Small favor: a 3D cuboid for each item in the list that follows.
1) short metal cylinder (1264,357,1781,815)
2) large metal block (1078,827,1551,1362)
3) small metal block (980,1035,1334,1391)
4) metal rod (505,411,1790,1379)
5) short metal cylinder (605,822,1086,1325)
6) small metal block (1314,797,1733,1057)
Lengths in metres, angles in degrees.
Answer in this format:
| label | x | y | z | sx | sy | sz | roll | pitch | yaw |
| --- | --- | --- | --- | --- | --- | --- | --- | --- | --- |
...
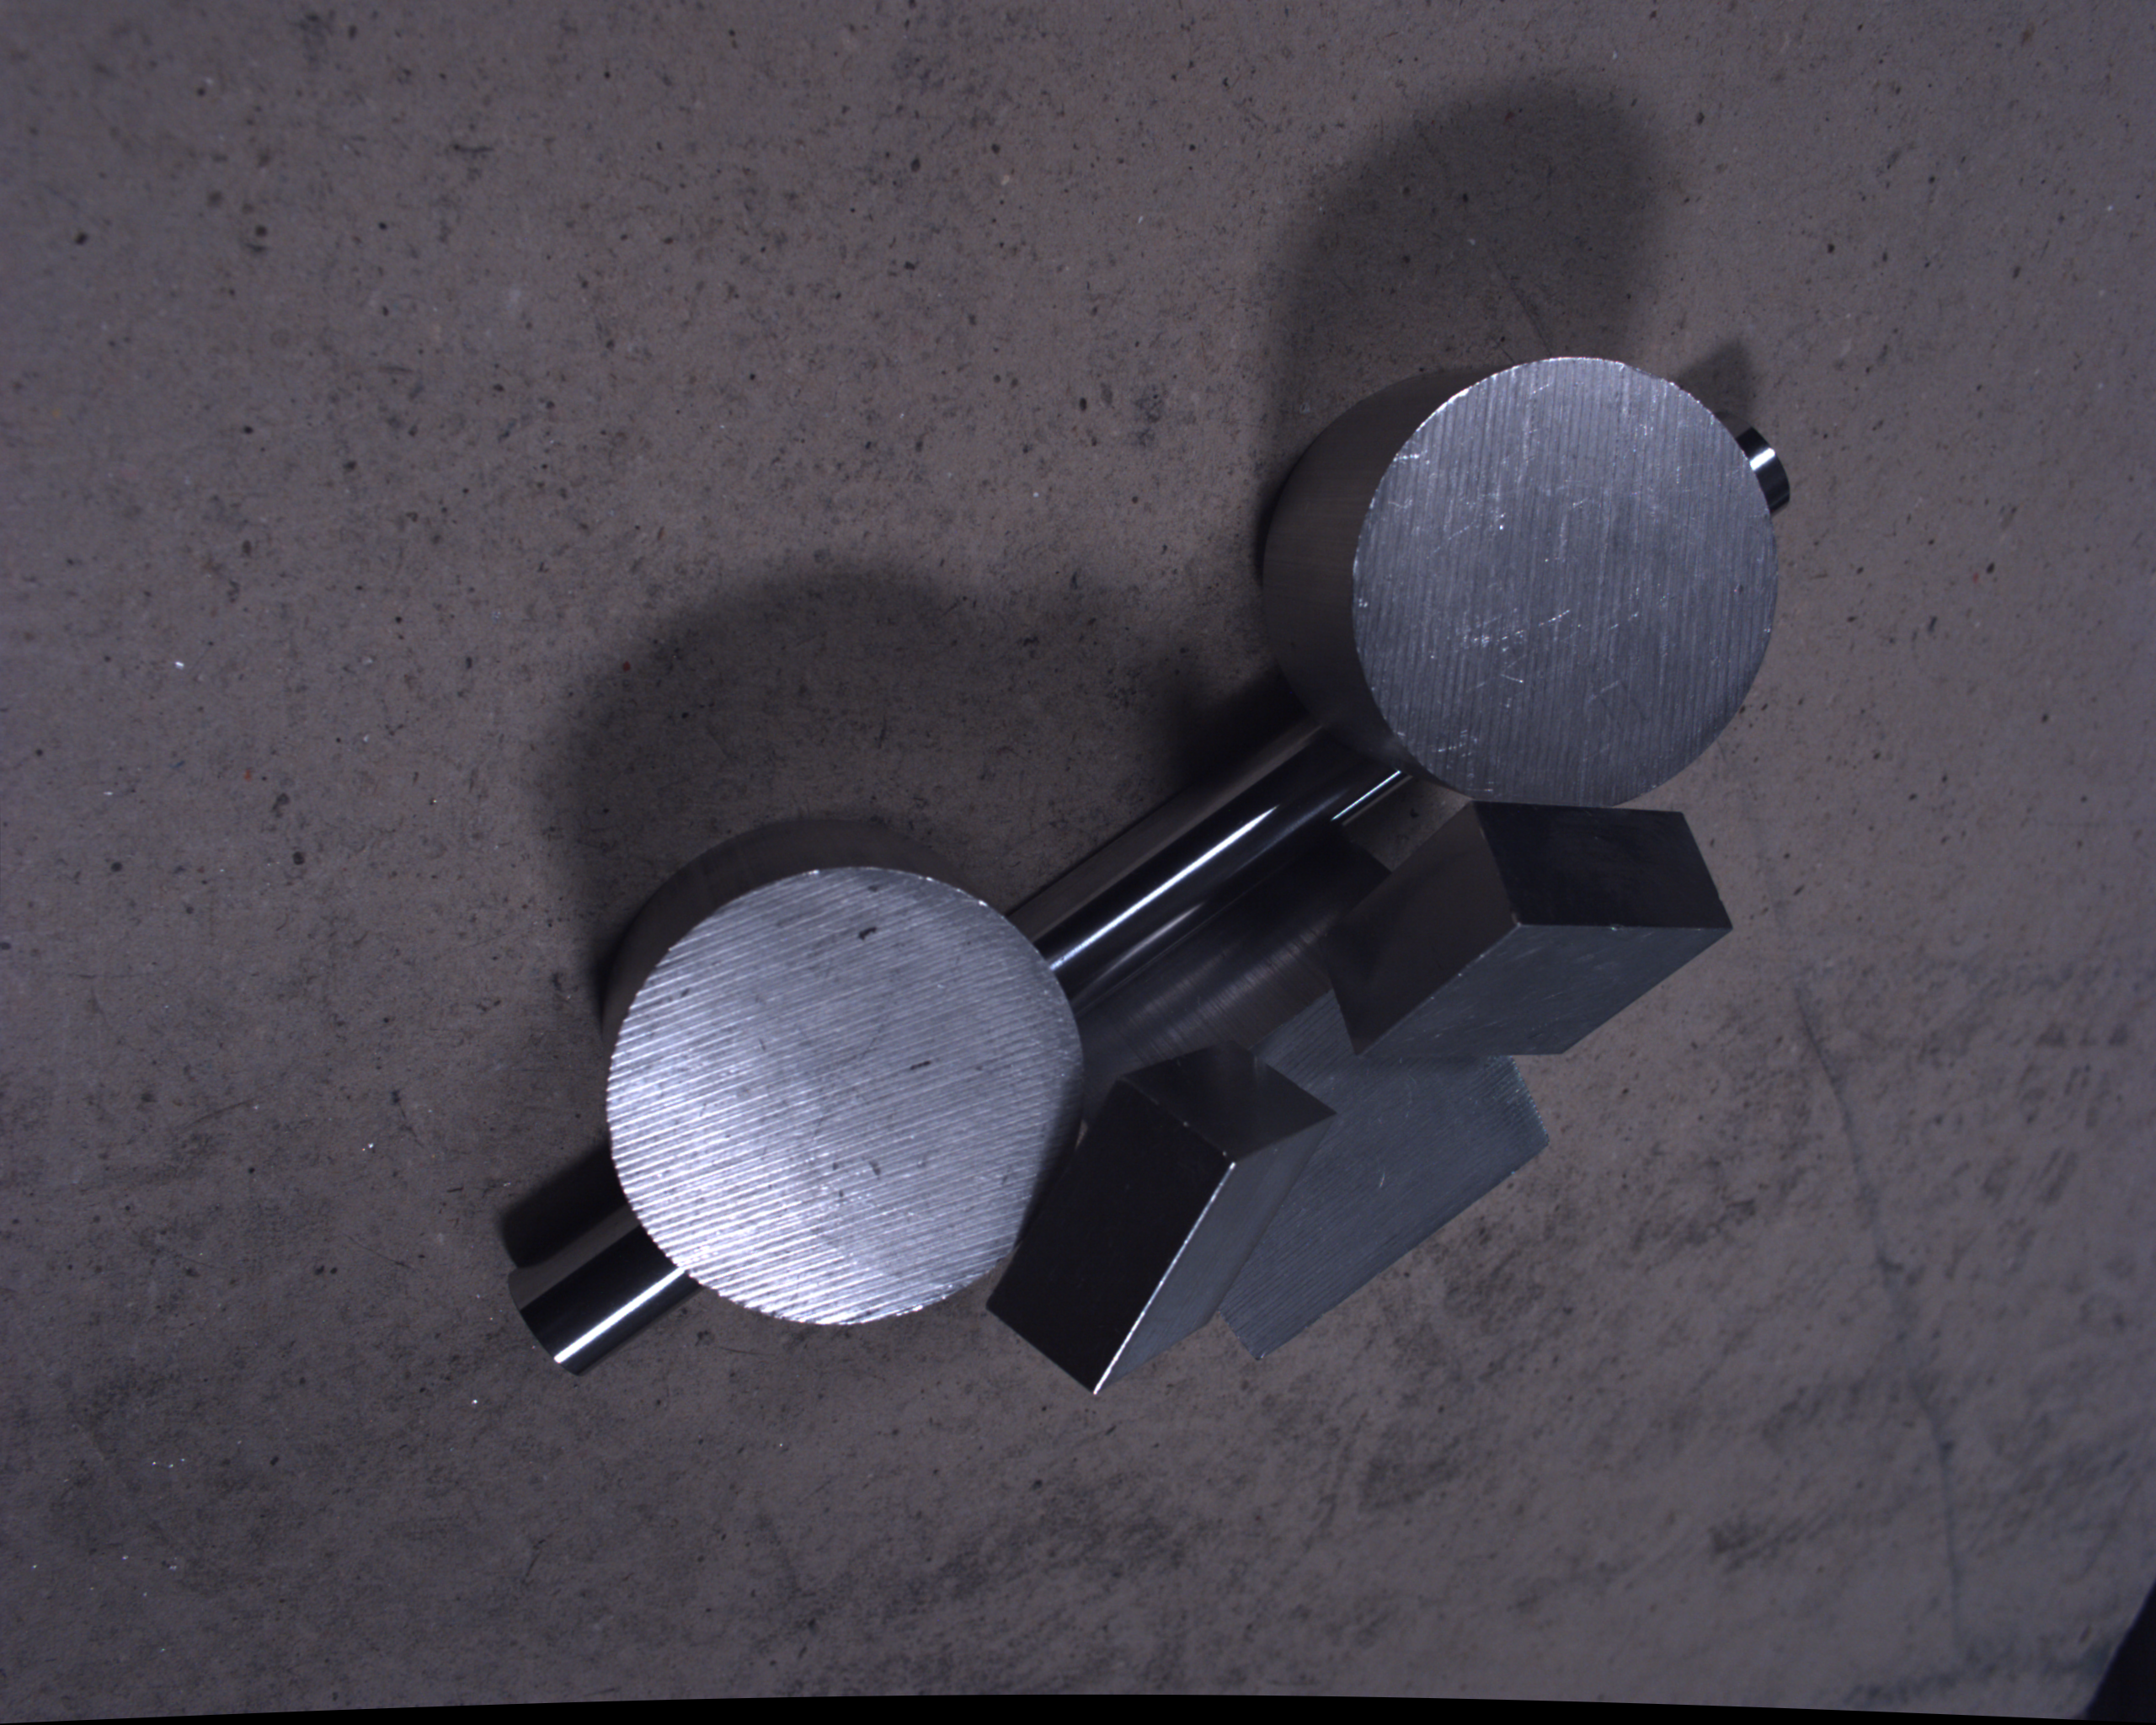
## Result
| label | x | y | z | sx | sy | sz | roll | pitch | yaw |
| --- | --- | --- | --- | --- | --- | --- | --- | --- | --- |
| short metal cylinder | 0.081 | -0.051 | 0.387 | 0.081 | 0.050 | 0.079 | -2 | 100 | -12 |
| large metal block | 0.043 | 0.046 | 0.444 | 0.080 | 0.050 | 0.080 | -36 | 130 | -5 |
| small metal block | 0.015 | 0.061 | 0.376 | 0.050 | 0.025 | 0.050 | -61 | 159 | 16 |
| metal rod | 0.018 | 0.004 | 0.421 | 0.301 | 0.025 | 0.025 | -36 | 129 | -5 |
| short metal cylinder | -0.043 | 0.036 | 0.374 | 0.081 | 0.050 | 0.079 | -2 | 100 | -13 |
| small metal block | 0.080 | 0.013 | 0.381 | 0.050 | 0.025 | 0.050 | 2 | 148 | -30 |
